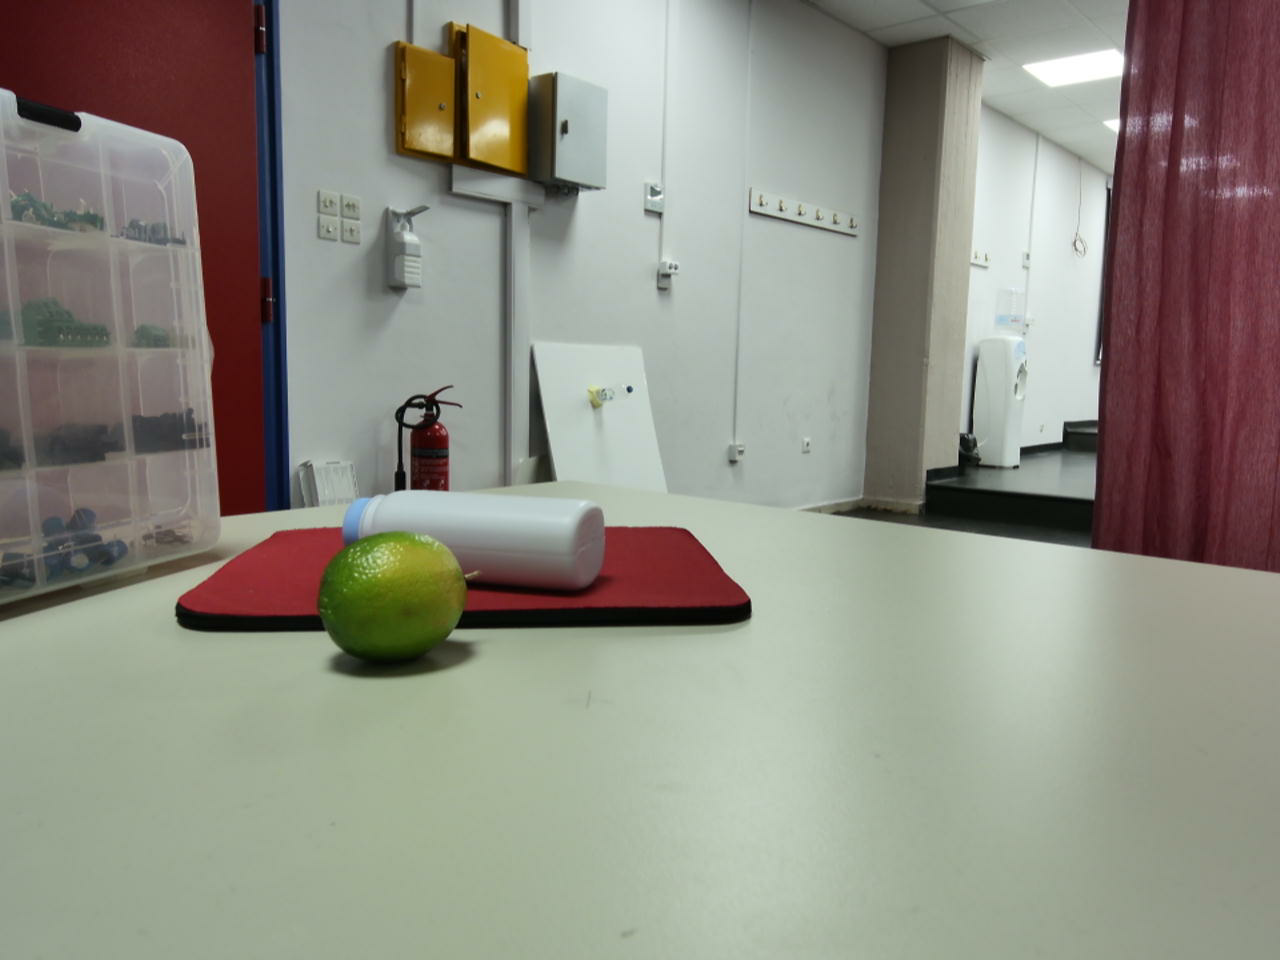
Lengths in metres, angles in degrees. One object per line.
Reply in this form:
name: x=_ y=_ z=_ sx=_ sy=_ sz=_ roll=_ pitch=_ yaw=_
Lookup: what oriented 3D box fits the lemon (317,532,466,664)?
lemon: x=-0.097 y=0.045 z=0.393 sx=0.055 sy=0.050 sz=0.054 roll=0 pitch=4 yaw=0
